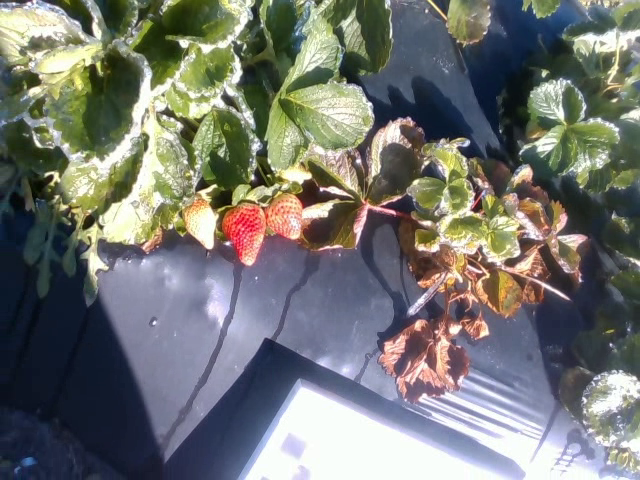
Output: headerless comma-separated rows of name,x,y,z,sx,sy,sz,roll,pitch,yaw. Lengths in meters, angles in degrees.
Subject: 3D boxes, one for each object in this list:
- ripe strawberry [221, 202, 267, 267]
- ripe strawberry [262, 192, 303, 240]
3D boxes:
ripe strawberry,-0.057,0.000,0.466,0.036,0.052,0.040,-10,-21,-6
ripe strawberry,-0.025,-0.018,0.484,0.036,0.041,0.030,-33,12,2
